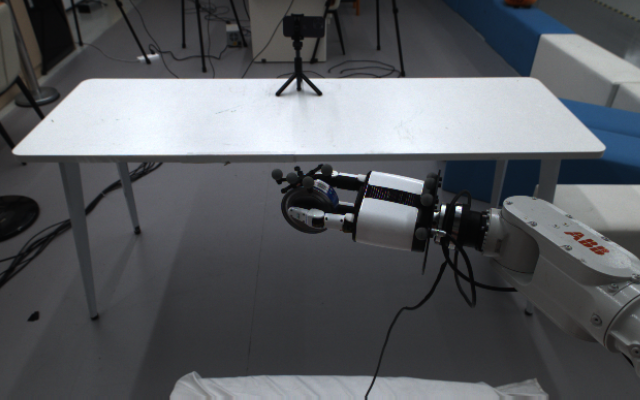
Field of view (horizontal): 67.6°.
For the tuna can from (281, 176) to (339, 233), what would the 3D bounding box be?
[{"bbox_3d":[-0.013,0.013,0.745,0.085,0.085,0.034,10,33,11],"label":"tuna can"}]
